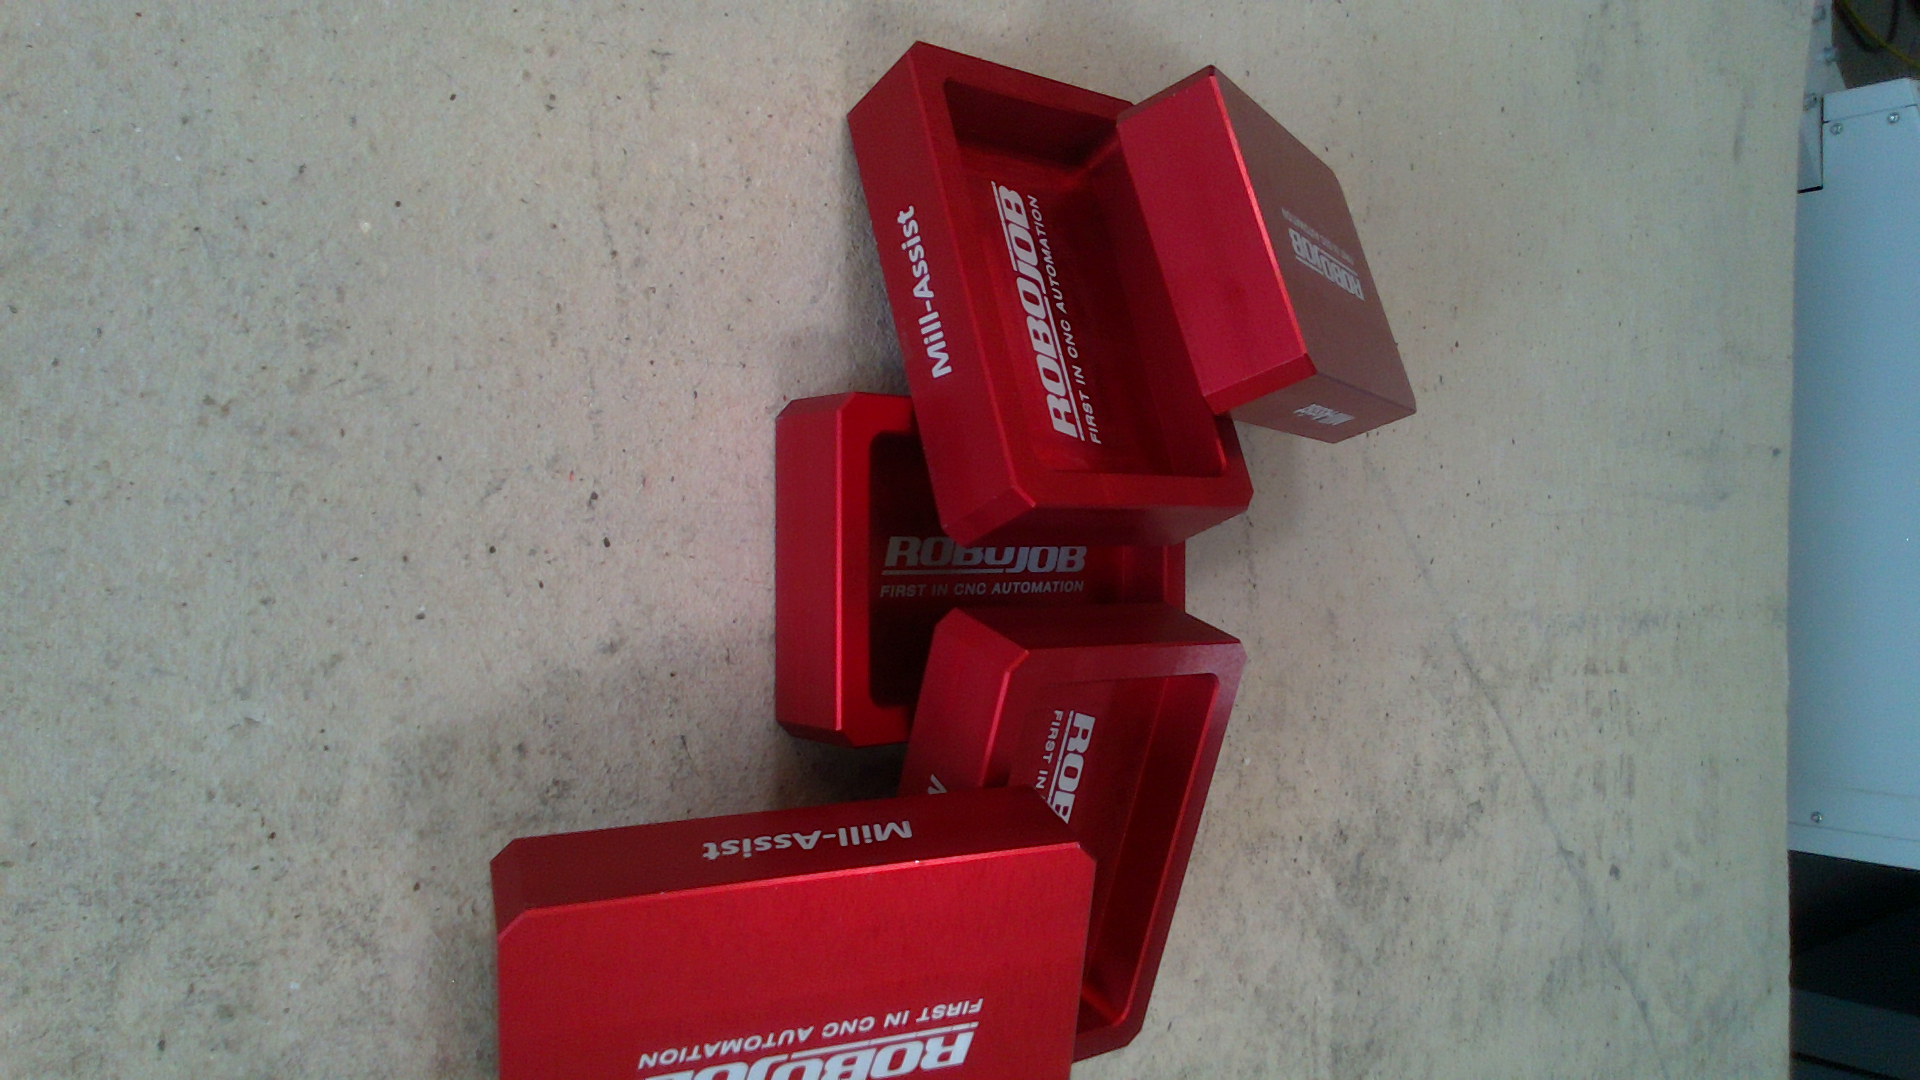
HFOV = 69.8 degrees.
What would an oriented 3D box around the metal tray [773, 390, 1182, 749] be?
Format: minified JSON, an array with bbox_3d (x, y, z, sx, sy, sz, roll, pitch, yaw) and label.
[{"bbox_3d":[0.010,0.007,0.394,0.131,0.030,0.090,0,90,-40],"label":"metal tray"}]

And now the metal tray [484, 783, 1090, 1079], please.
[{"bbox_3d":[-0.039,0.109,0.315,0.130,0.030,0.090,-2,108,-22],"label":"metal tray"}]

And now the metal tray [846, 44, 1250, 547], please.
[{"bbox_3d":[0.025,-0.064,0.381,0.090,0.030,0.130,0,71,-40],"label":"metal tray"}]

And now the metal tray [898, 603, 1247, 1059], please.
[{"bbox_3d":[0.024,0.083,0.380,0.090,0.030,0.130,1,108,-40],"label":"metal tray"}]

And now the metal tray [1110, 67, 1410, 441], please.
[{"bbox_3d":[0.097,-0.081,0.426,0.130,0.030,0.090,1,70,-60],"label":"metal tray"}]
